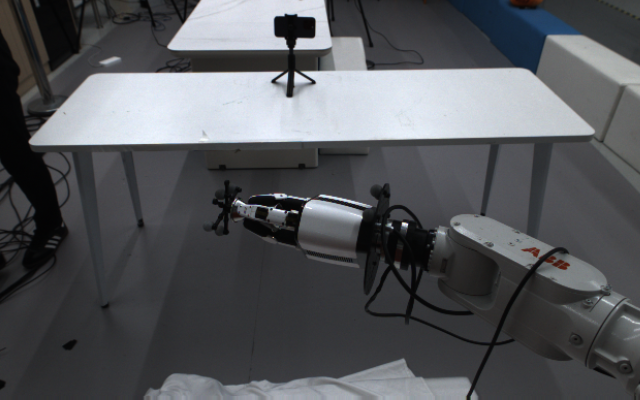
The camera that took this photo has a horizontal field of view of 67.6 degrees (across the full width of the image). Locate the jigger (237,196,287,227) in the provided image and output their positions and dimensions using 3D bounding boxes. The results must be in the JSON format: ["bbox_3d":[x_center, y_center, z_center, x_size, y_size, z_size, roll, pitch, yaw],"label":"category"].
[{"bbox_3d":[-0.090,0.017,0.726,0.071,0.043,0.043,10,35,16],"label":"jigger"}]
